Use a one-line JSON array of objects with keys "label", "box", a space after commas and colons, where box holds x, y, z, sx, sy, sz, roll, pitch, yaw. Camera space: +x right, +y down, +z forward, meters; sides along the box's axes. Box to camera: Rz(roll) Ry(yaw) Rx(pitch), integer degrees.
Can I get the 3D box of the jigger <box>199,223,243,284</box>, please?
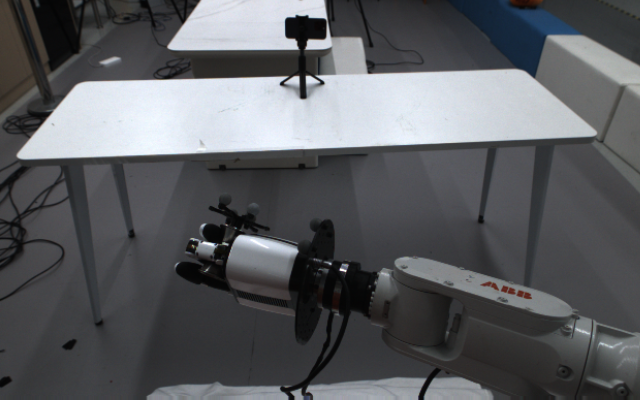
[{"label": "jigger", "box": [-0.126, 0.070, 0.641, 0.043, 0.043, 0.071, 15, 71, 18]}]
